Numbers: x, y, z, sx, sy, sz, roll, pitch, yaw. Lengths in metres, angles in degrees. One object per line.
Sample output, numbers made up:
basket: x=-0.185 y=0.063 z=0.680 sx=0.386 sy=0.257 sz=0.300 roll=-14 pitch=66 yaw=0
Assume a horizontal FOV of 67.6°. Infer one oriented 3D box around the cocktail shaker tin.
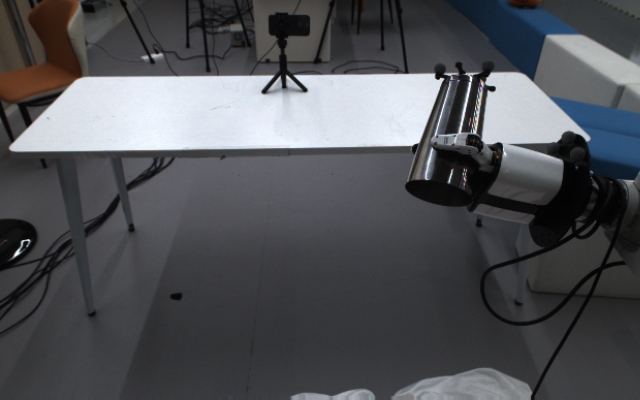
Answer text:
cocktail shaker tin: x=0.185 y=-0.086 z=0.678 sx=0.093 sy=0.093 sz=0.170 roll=13 pitch=73 yaw=15
